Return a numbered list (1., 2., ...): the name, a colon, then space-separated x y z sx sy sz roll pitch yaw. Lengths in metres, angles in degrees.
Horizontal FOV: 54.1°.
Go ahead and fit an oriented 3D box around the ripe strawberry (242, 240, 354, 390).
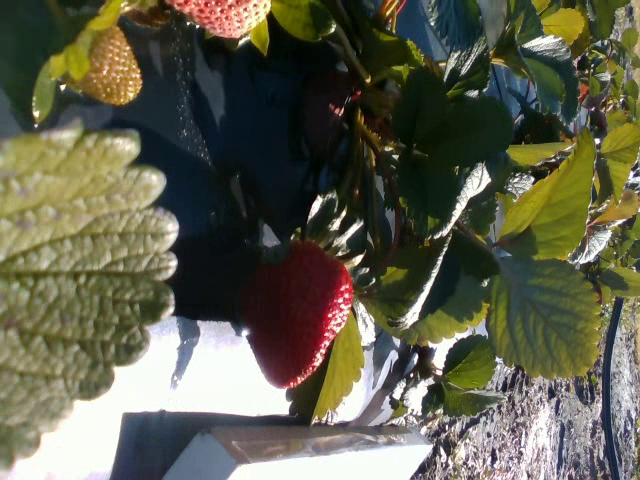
1. ripe strawberry: -0.012 0.027 0.211 0.058 0.066 0.062 -5 46 -17
